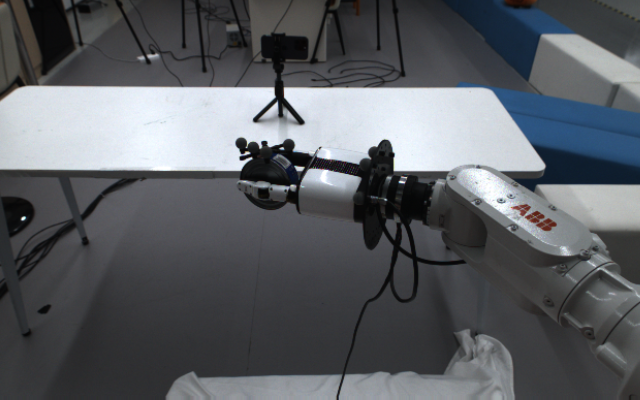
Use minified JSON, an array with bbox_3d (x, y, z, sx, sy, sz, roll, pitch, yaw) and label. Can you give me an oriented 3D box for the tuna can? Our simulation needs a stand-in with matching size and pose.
[{"bbox_3d":[-0.076,-0.030,0.740,0.085,0.085,0.034,14,29,17],"label":"tuna can"}]
